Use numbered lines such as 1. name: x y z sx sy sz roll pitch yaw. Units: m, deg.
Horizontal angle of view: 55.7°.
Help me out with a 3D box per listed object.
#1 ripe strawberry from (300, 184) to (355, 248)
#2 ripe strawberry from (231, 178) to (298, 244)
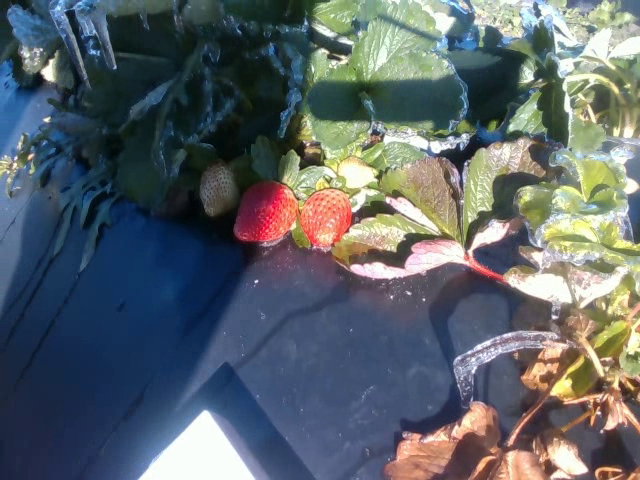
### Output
1. ripe strawberry: 0.005 -0.011 0.348 0.036 0.041 0.030 -25 -41 13
2. ripe strawberry: -0.035 -0.011 0.346 0.036 0.040 0.052 -3 25 26
